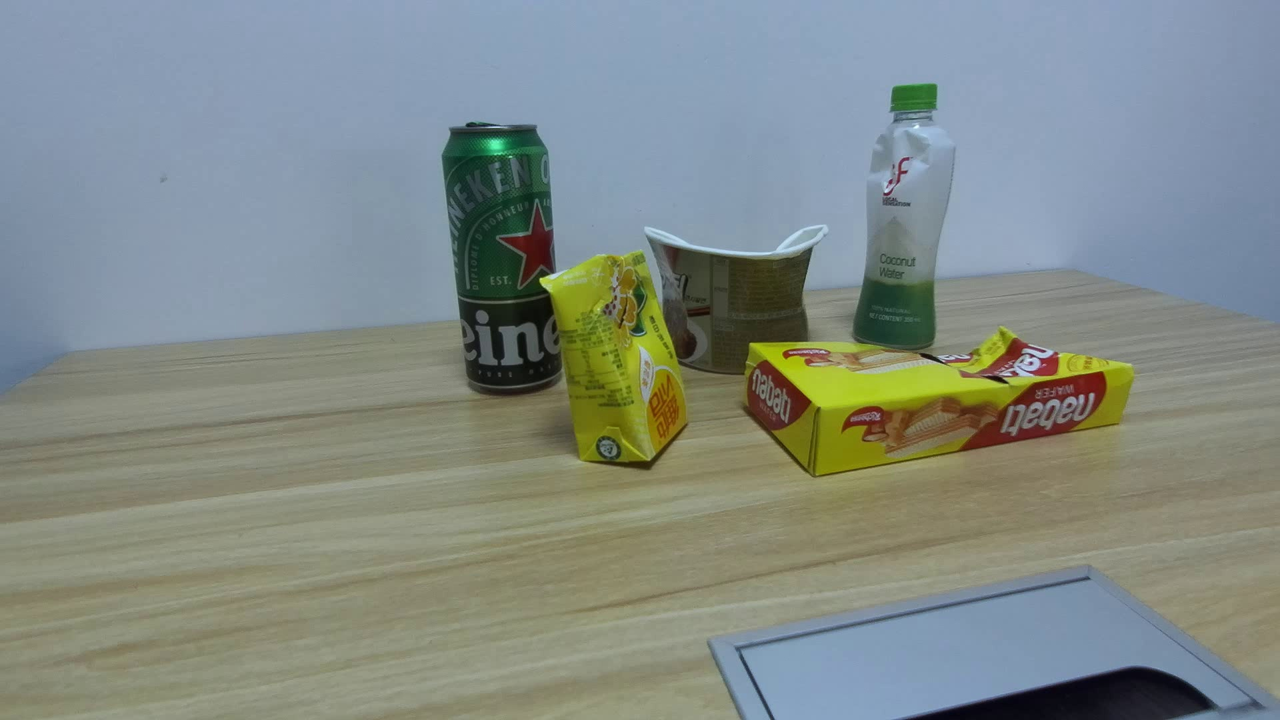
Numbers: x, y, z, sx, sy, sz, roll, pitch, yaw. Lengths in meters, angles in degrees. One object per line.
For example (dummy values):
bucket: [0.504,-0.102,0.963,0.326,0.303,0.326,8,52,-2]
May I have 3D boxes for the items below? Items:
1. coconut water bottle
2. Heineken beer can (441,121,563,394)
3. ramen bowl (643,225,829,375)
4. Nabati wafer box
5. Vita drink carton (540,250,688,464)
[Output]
coconut water bottle: [0.196,-0.105,0.530,0.069,0.186,0.069,-1,17,1]
Heineken beer can: [-0.088,-0.065,0.467,0.067,0.169,0.067,-2,17,1]
ramen bowl: [0.068,-0.049,0.519,0.137,0.098,0.137,-3,20,1]
Nabati wafer box: [0.173,0.015,0.422,0.205,0.042,0.106,-5,21,-15]
Vita drink carton: [-0.013,-0.004,0.386,0.042,0.108,0.087,-7,12,26]
